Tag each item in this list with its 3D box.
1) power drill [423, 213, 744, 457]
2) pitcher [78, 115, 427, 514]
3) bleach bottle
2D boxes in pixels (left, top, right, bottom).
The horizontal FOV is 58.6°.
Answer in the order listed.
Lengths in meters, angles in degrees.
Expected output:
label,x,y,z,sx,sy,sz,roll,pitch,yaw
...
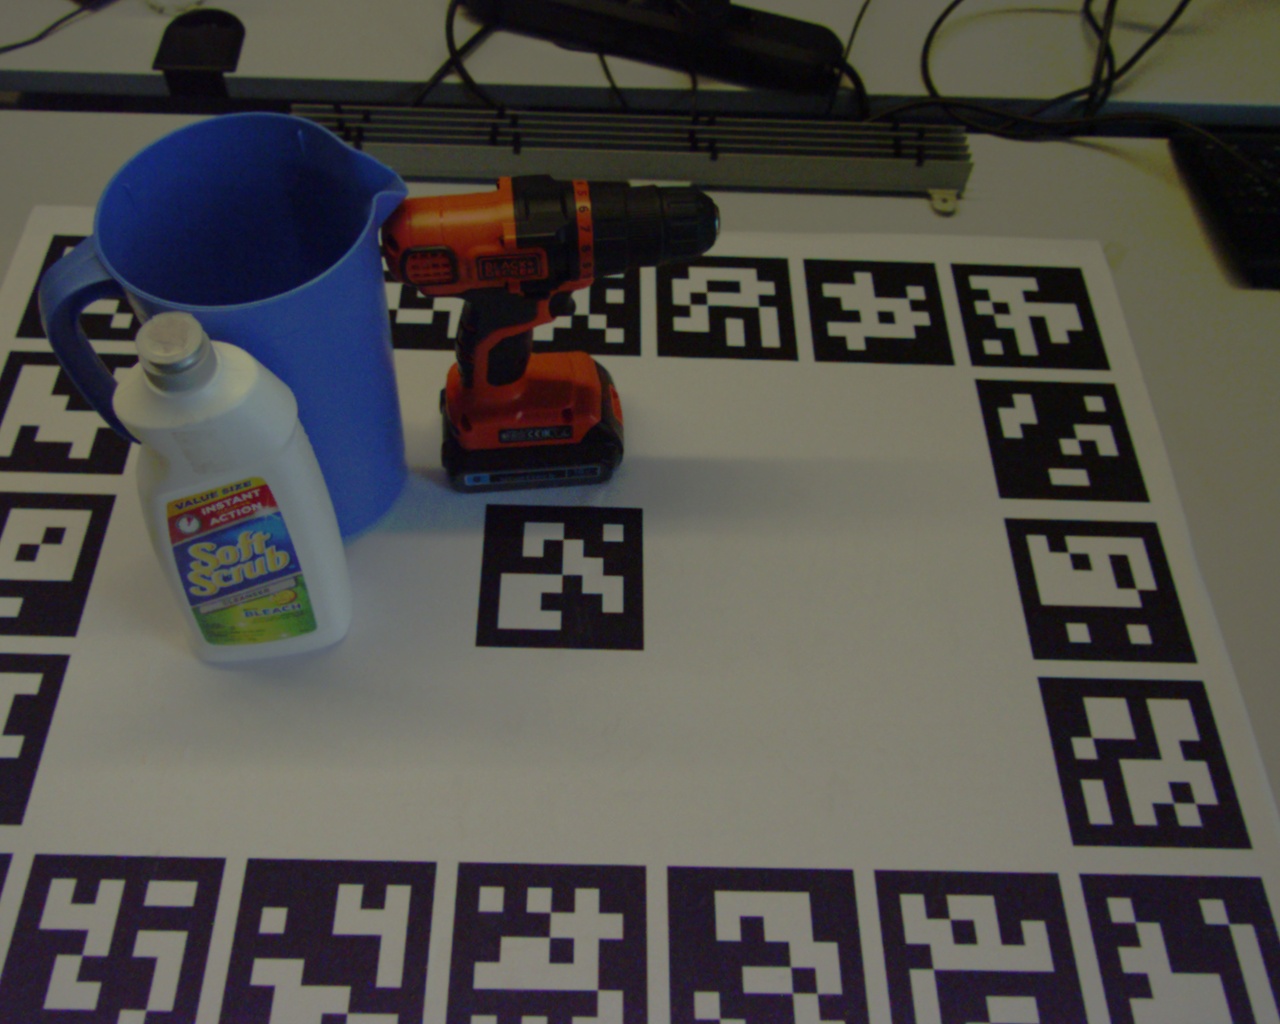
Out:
label,x,y,z,sx,sy,sz,roll,pitch,yaw
power drill,-0.038,-0.104,0.693,0.183,0.187,0.057,-2,62,-10
pitcher,-0.205,-0.094,0.670,0.187,0.242,0.134,-24,65,-16
bleach bottle,-0.212,-0.016,0.600,0.102,0.250,0.068,-6,60,-6
